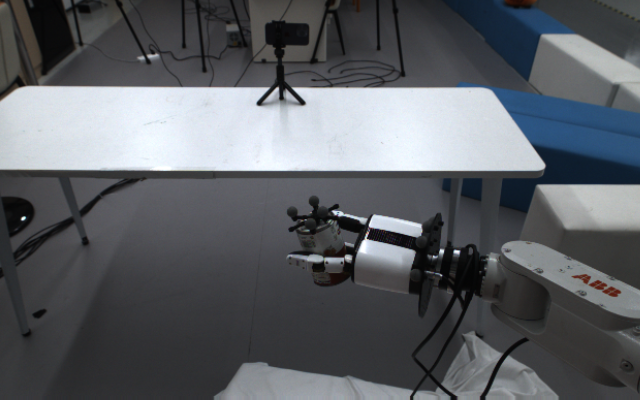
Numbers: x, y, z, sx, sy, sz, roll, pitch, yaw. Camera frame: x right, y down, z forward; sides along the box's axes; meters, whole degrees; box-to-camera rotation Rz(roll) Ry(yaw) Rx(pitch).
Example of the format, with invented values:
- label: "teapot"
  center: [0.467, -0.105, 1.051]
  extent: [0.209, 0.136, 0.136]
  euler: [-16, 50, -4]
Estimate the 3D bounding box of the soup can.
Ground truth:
- label: "soup can"
  center: [0.008, 0.076, 0.764]
  extent: [0.067, 0.101, 0.067]
  euler: [-16, 23, 7]
